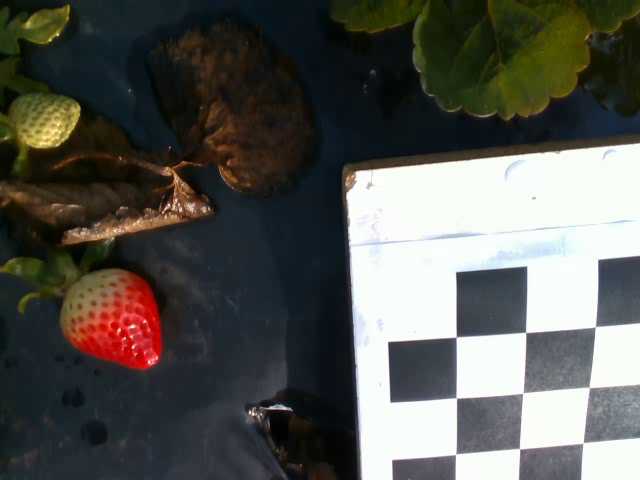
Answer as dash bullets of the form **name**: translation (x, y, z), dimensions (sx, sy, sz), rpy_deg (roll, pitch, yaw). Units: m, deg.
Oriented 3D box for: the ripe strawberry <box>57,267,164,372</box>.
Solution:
- **ripe strawberry**: translation (-0.071, 0.030, 0.224), dimensions (0.035, 0.043, 0.030), rpy_deg (-41, 10, 9)
